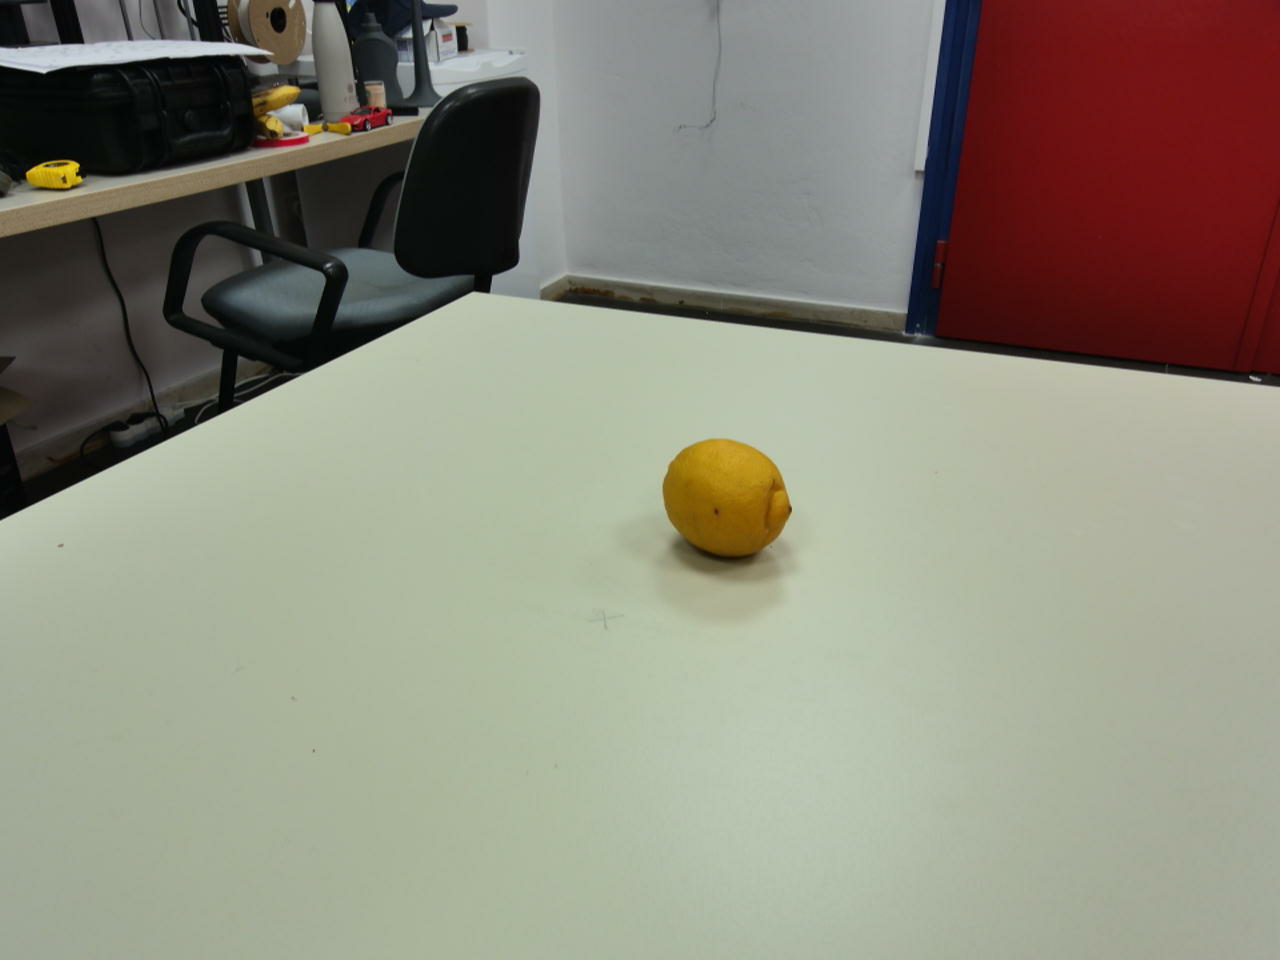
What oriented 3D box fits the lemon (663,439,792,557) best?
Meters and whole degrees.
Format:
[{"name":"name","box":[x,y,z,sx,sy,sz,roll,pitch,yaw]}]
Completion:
[{"name":"lemon","box":[0.044,0.010,0.522,0.061,0.059,0.067,-10,27,-21]}]
